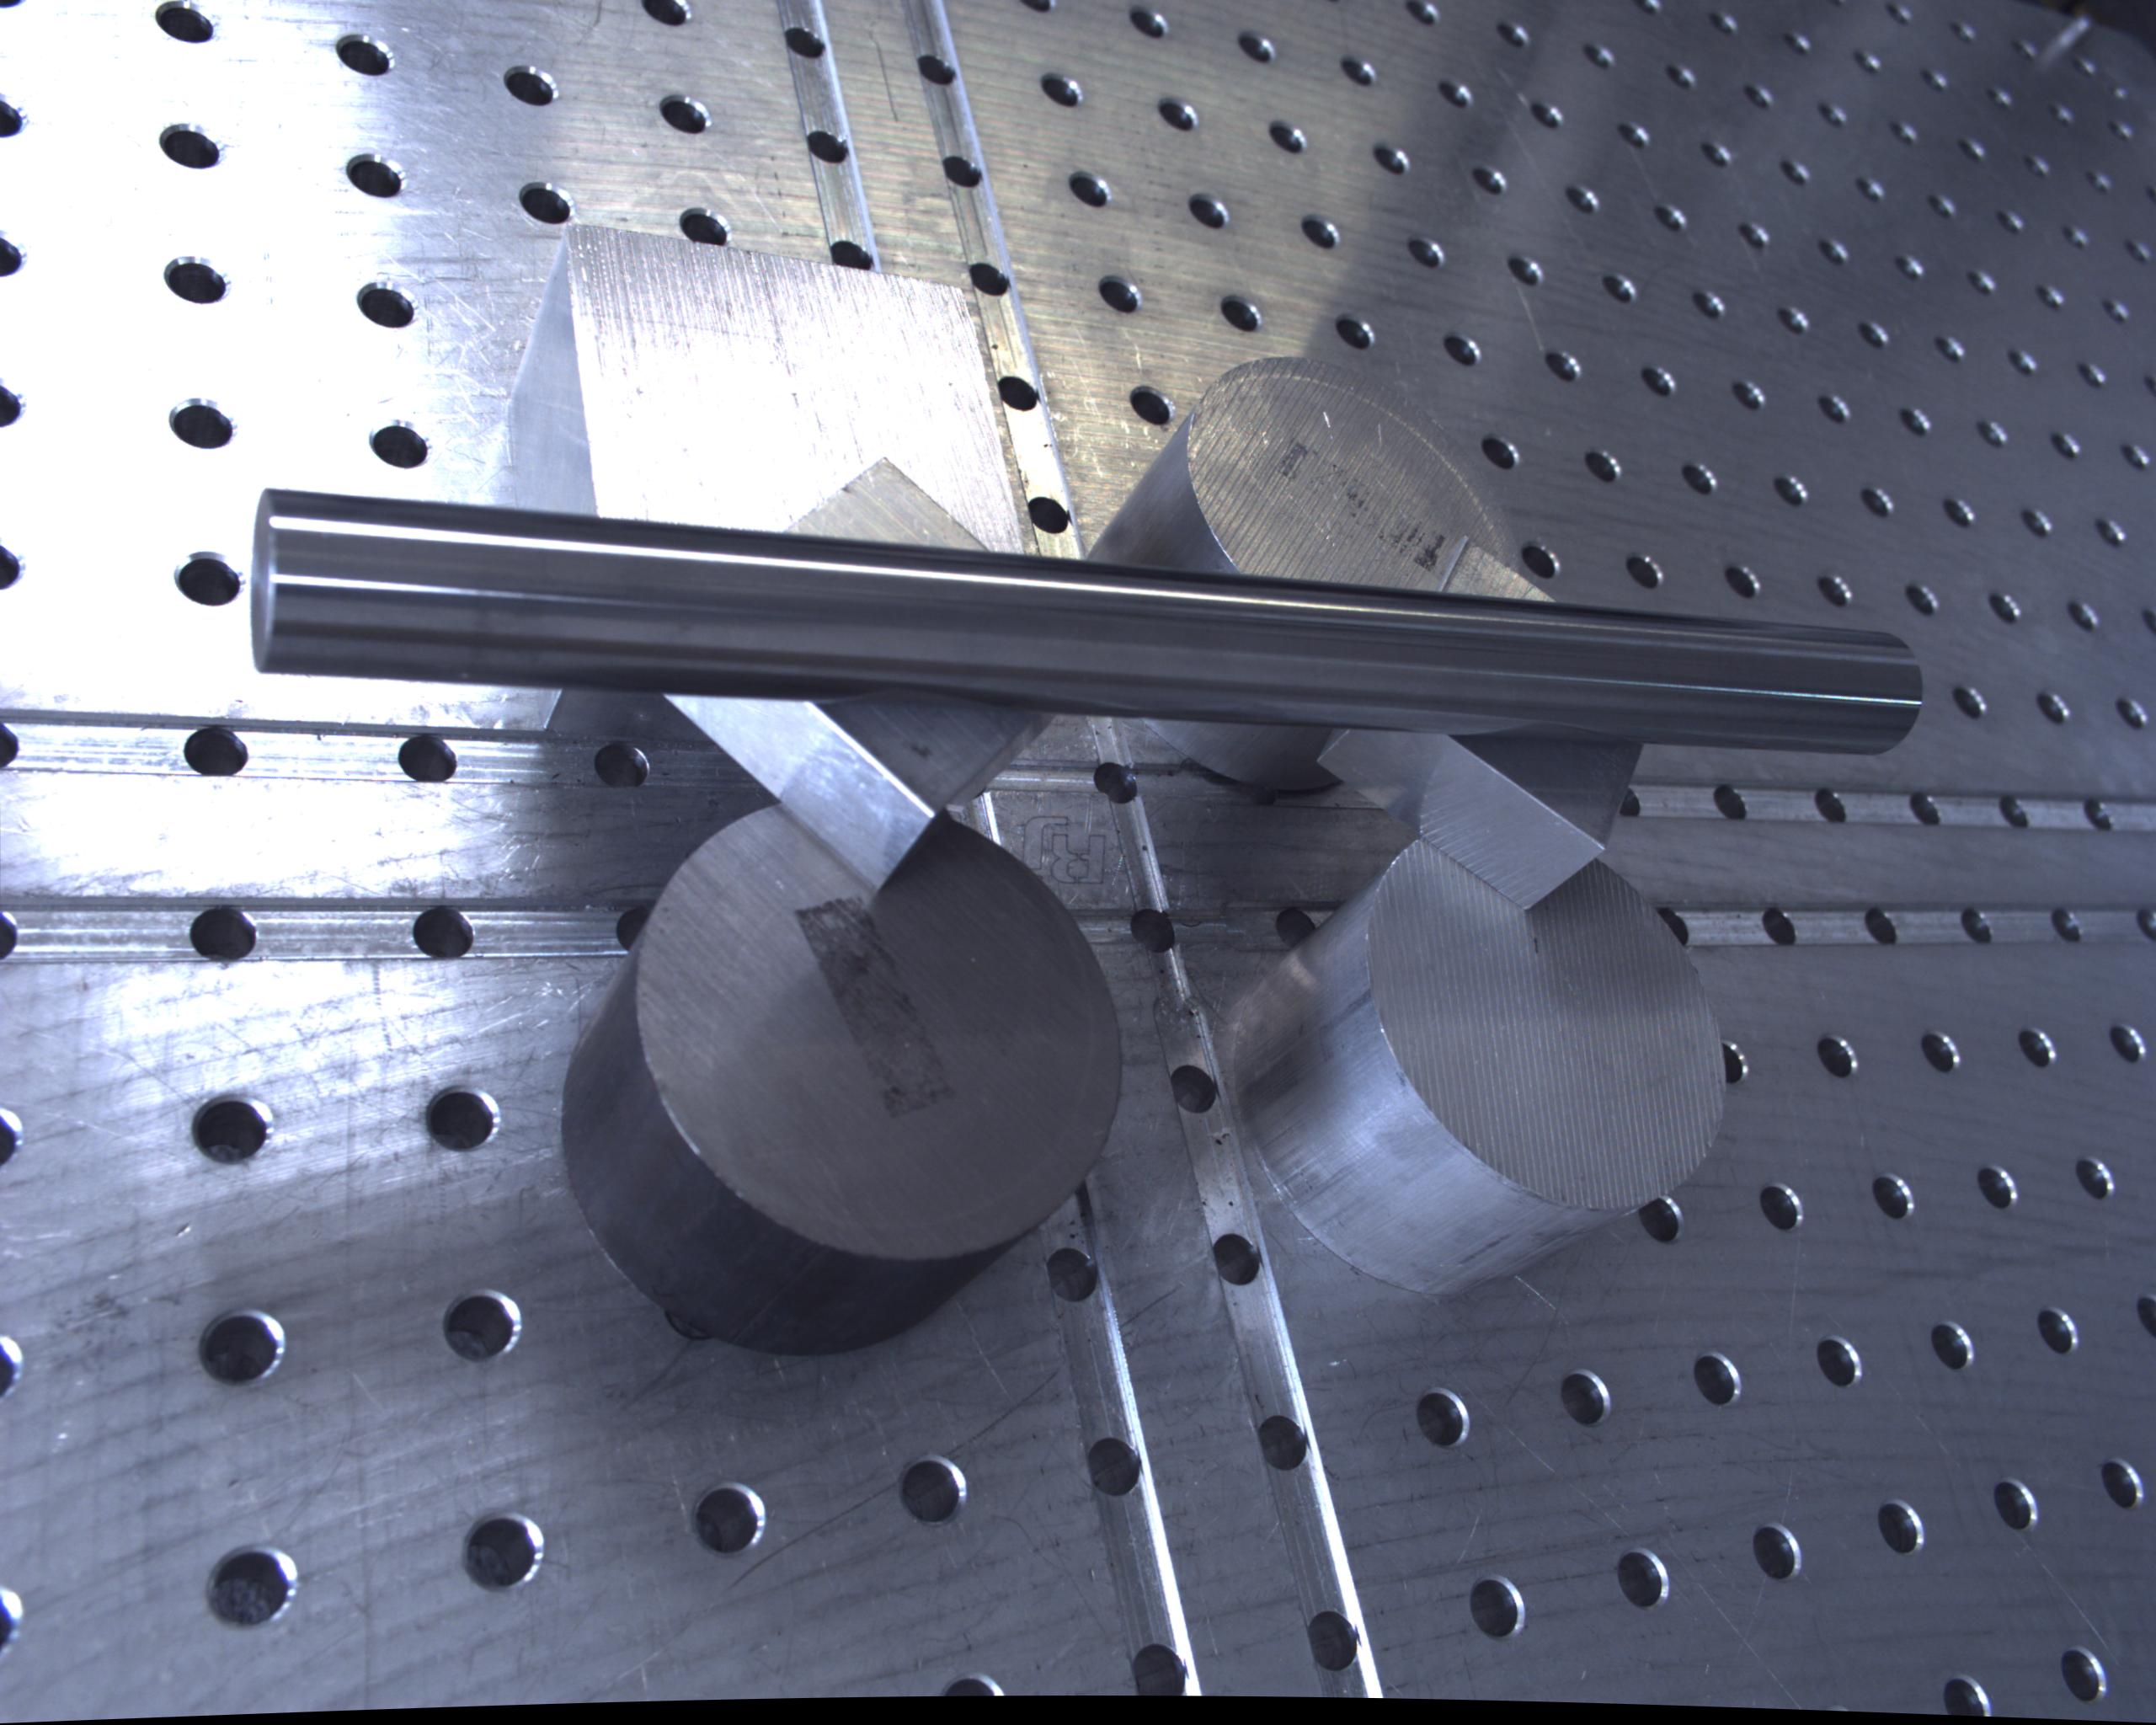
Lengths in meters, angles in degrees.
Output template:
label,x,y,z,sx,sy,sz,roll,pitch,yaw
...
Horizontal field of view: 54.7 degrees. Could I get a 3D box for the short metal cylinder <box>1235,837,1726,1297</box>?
label,x,y,z,sx,sy,sz,roll,pitch,yaw
short metal cylinder,0.078,0.039,0.410,0.081,0.050,0.080,14,56,-21

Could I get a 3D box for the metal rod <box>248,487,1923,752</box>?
label,x,y,z,sx,sy,sz,roll,pitch,yaw
metal rod,0.025,-0.036,0.347,0.303,0.025,0.025,1,62,-28

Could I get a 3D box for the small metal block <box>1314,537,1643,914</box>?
label,x,y,z,sx,sy,sz,roll,pitch,yaw
small metal block,0.081,-0.027,0.404,0.050,0.025,0.050,35,51,-5

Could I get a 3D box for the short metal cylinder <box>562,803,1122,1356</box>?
label,x,y,z,sx,sy,sz,roll,pitch,yaw
short metal cylinder,-0.040,0.036,0.347,0.081,0.050,0.080,14,56,-21

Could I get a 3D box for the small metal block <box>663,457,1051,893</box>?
label,x,y,z,sx,sy,sz,roll,pitch,yaw
small metal block,-0.033,-0.032,0.346,0.050,0.025,0.050,42,51,1

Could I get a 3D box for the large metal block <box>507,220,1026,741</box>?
label,x,y,z,sx,sy,sz,roll,pitch,yaw
large metal block,-0.061,-0.070,0.401,0.081,0.050,0.080,1,61,-28

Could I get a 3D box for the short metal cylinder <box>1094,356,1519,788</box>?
label,x,y,z,sx,sy,sz,roll,pitch,yaw
short metal cylinder,0.048,-0.063,0.456,0.081,0.050,0.080,14,56,-21
